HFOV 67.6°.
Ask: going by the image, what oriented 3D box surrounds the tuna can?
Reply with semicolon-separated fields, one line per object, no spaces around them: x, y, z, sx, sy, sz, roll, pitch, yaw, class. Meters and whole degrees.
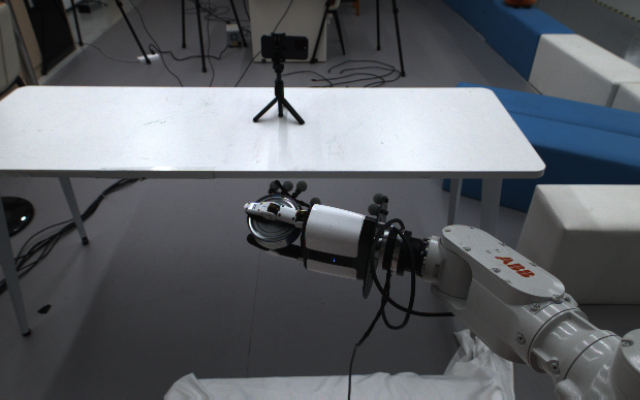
-0.070;0.033;0.770;0.085;0.034;0.085;-4;56;6;tuna can
